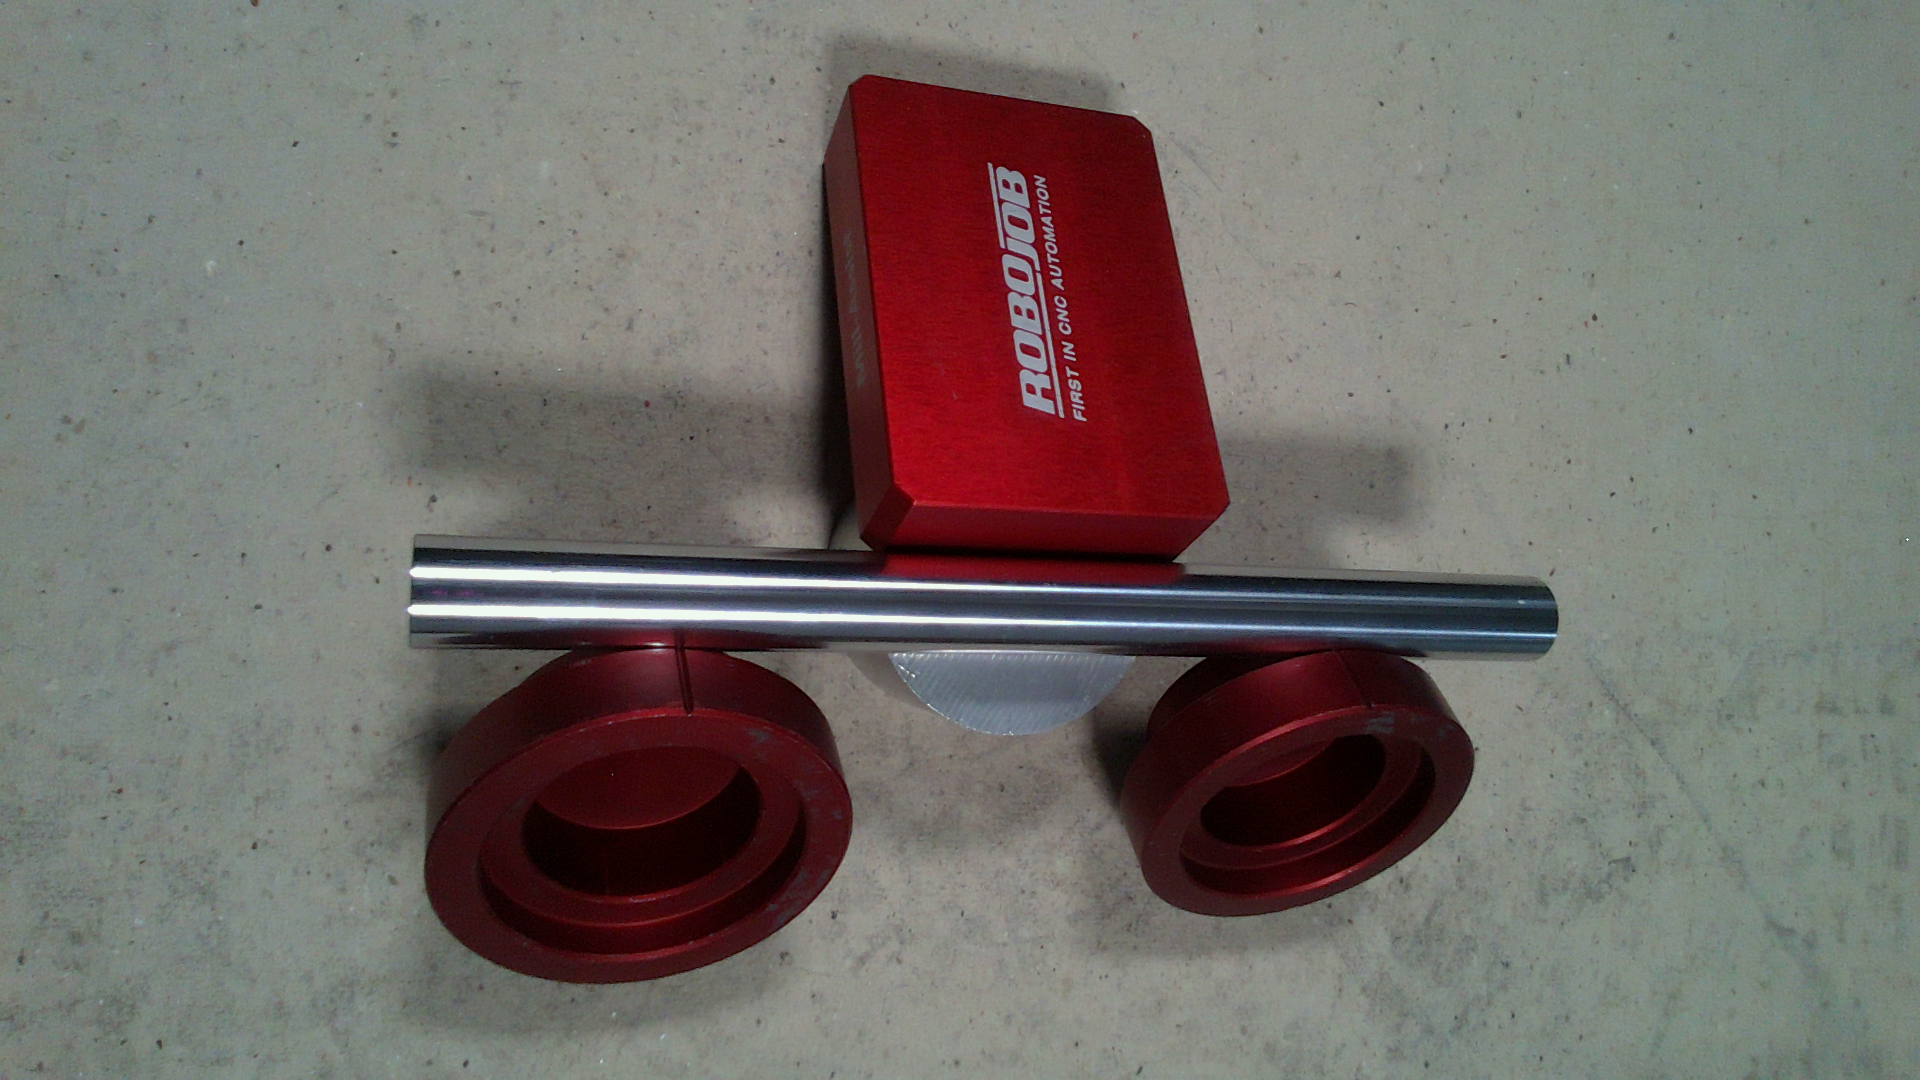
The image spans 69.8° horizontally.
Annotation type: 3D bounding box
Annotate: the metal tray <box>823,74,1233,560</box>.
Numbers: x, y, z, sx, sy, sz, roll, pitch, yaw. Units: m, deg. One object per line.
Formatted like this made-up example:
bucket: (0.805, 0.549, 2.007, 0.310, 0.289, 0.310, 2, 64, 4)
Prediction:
metal tray: (0.015, -0.059, 0.368, 0.090, 0.030, 0.130, 2, 63, -20)

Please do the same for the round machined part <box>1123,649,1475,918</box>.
round machined part: (0.094, 0.065, 0.400, 0.098, 0.042, 0.098, -10, 135, -10)

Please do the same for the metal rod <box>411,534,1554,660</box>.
metal rod: (0.023, 0.017, 0.350, 0.301, 0.025, 0.025, 2, 89, -20)

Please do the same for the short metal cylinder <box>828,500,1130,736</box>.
short metal cylinder: (0.006, 0.011, 0.383, 0.080, 0.050, 0.080, 0, 90, -20)

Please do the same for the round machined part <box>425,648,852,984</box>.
round machined part: (-0.079, 0.062, 0.339, 0.098, 0.042, 0.098, -11, 131, -12)
